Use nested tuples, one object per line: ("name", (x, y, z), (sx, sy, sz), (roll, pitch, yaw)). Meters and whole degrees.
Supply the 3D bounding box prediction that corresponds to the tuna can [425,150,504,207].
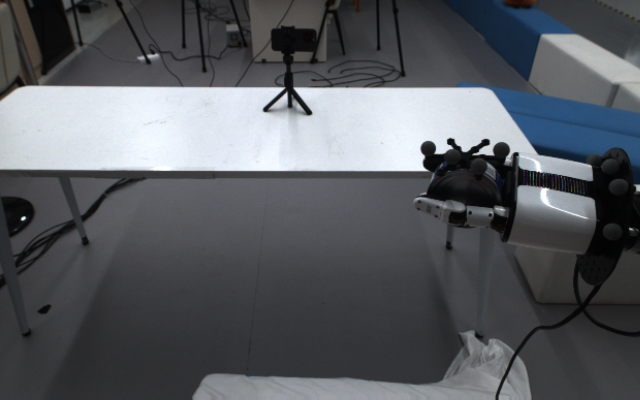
("tuna can", (0.175, -0.012, 0.582), (0.085, 0.085, 0.034), (14, 41, 16))
